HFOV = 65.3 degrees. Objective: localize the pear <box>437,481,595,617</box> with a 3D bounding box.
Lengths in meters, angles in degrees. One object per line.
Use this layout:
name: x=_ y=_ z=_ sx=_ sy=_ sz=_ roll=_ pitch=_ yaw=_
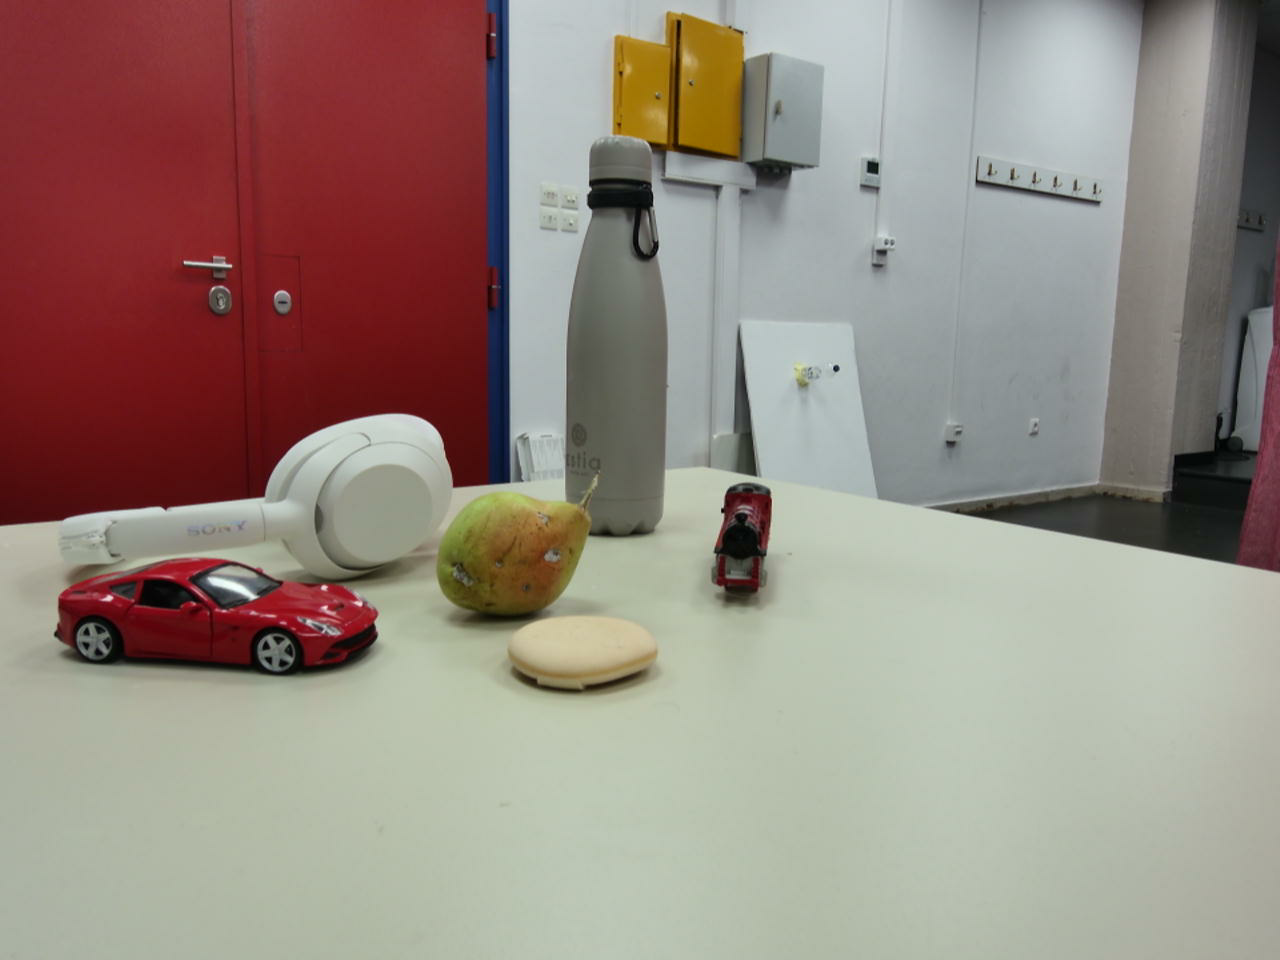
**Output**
pear: x=-0.064 y=0.034 z=0.511 sx=0.070 sy=0.069 sz=0.068 roll=1 pitch=6 yaw=14
